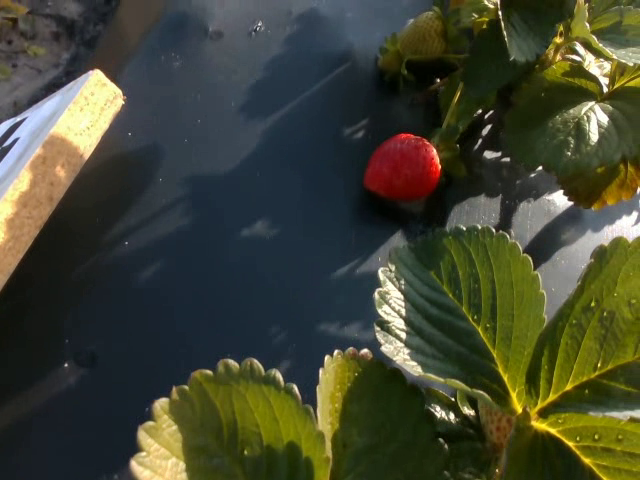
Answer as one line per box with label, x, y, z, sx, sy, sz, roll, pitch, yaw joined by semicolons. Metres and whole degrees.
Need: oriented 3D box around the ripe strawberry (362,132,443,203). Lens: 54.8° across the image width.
ripe strawberry;0.033;-0.029;0.263;0.044;0.033;0.030;-22;24;-21
